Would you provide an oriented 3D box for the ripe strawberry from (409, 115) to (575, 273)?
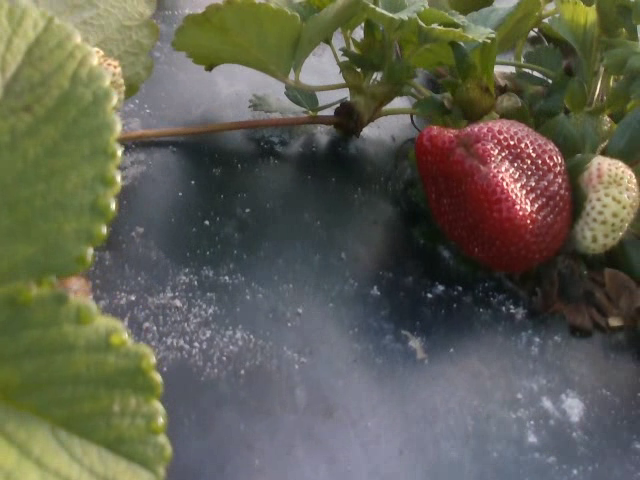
[{"bbox_3d":[0.057,-0.017,0.201,0.057,0.058,0.070,-12,-27,30],"label":"ripe strawberry"}]
